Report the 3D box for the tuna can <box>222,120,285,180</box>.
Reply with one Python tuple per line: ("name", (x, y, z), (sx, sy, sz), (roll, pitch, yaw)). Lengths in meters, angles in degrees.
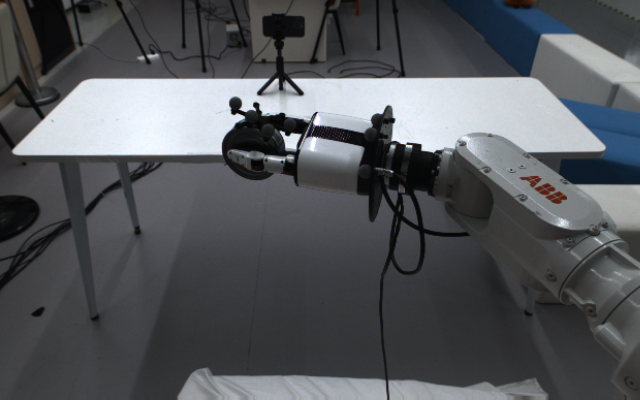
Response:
("tuna can", (-0.094, -0.072, 0.692), (0.085, 0.085, 0.034), (9, 35, 10))
